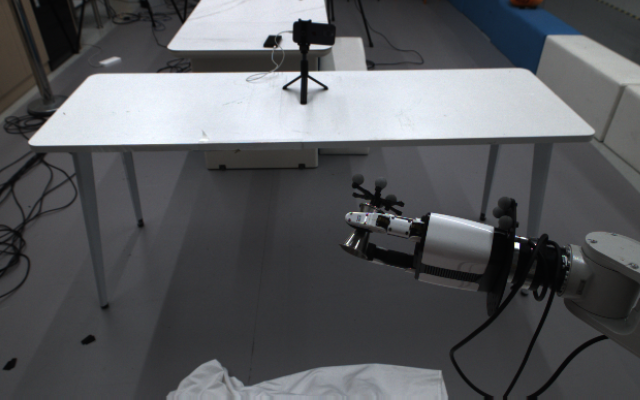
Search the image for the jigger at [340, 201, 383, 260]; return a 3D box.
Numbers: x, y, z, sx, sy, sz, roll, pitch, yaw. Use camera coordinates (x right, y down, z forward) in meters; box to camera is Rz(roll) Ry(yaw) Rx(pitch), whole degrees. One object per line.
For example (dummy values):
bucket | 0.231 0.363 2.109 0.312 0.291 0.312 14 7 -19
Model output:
jigger | 0.059 0.040 0.678 0.043 0.043 0.071 21 73 25
